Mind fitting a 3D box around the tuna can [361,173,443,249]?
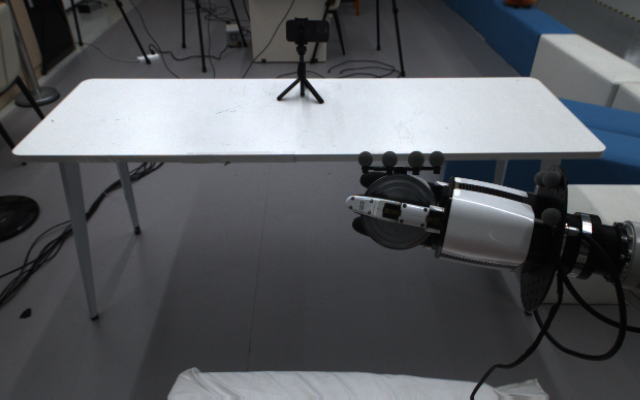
[{"bbox_3d":[0.092,0.011,0.552,0.085,0.085,0.034,13,7,15],"label":"tuna can"}]
